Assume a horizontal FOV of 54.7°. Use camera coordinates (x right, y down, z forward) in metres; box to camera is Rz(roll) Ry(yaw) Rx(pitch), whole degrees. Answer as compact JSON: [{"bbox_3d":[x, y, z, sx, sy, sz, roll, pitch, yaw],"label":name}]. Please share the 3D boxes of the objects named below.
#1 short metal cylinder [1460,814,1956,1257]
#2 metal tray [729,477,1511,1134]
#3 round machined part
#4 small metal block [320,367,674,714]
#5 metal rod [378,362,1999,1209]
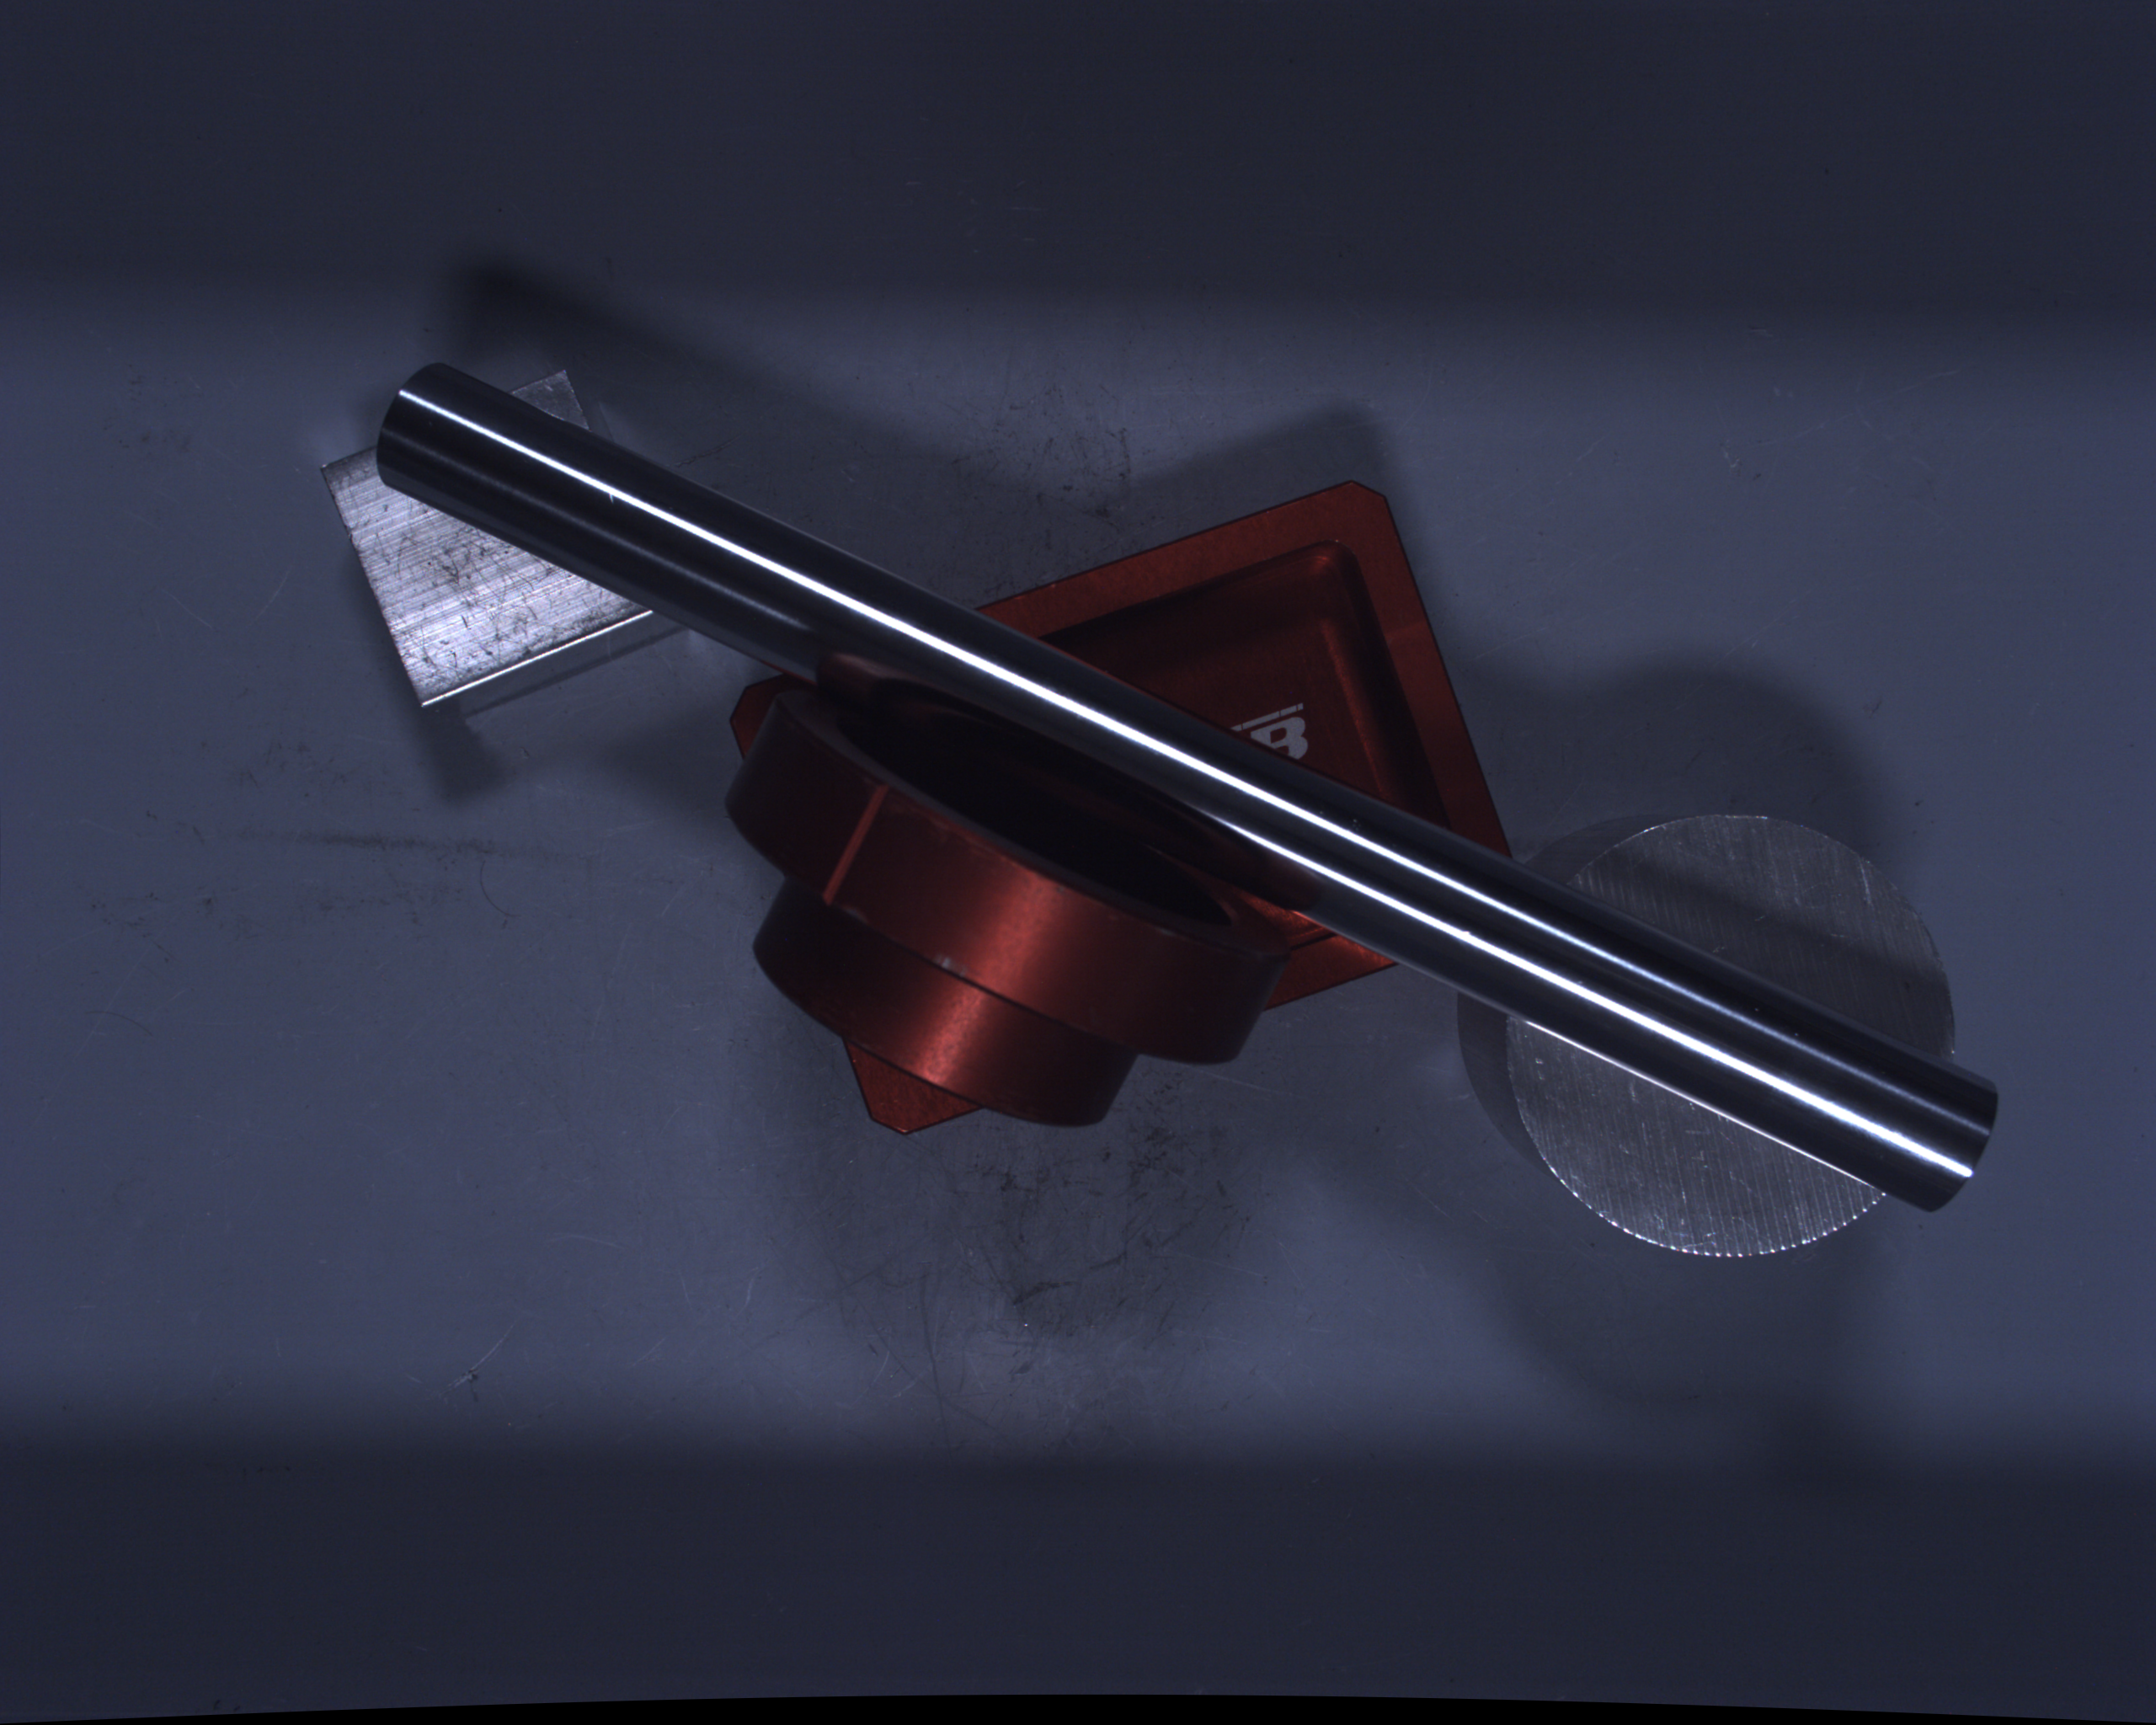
[{"bbox_3d":[0.117,0.031,0.399,0.081,0.050,0.079,0,90,-1],"label":"short metal cylinder"},{"bbox_3d":[0.009,-0.011,0.407,0.131,0.030,0.090,-19,90,-1],"label":"metal tray"},{"bbox_3d":[-0.017,0.011,0.360,0.098,0.098,0.042,28,98,-1],"label":"round machined part"},{"bbox_3d":[-0.111,-0.062,0.408,0.050,0.025,0.050,-22,90,-1],"label":"small metal block"},{"bbox_3d":[0.014,-0.016,0.369,0.301,0.025,0.025,25,90,6],"label":"metal rod"}]
